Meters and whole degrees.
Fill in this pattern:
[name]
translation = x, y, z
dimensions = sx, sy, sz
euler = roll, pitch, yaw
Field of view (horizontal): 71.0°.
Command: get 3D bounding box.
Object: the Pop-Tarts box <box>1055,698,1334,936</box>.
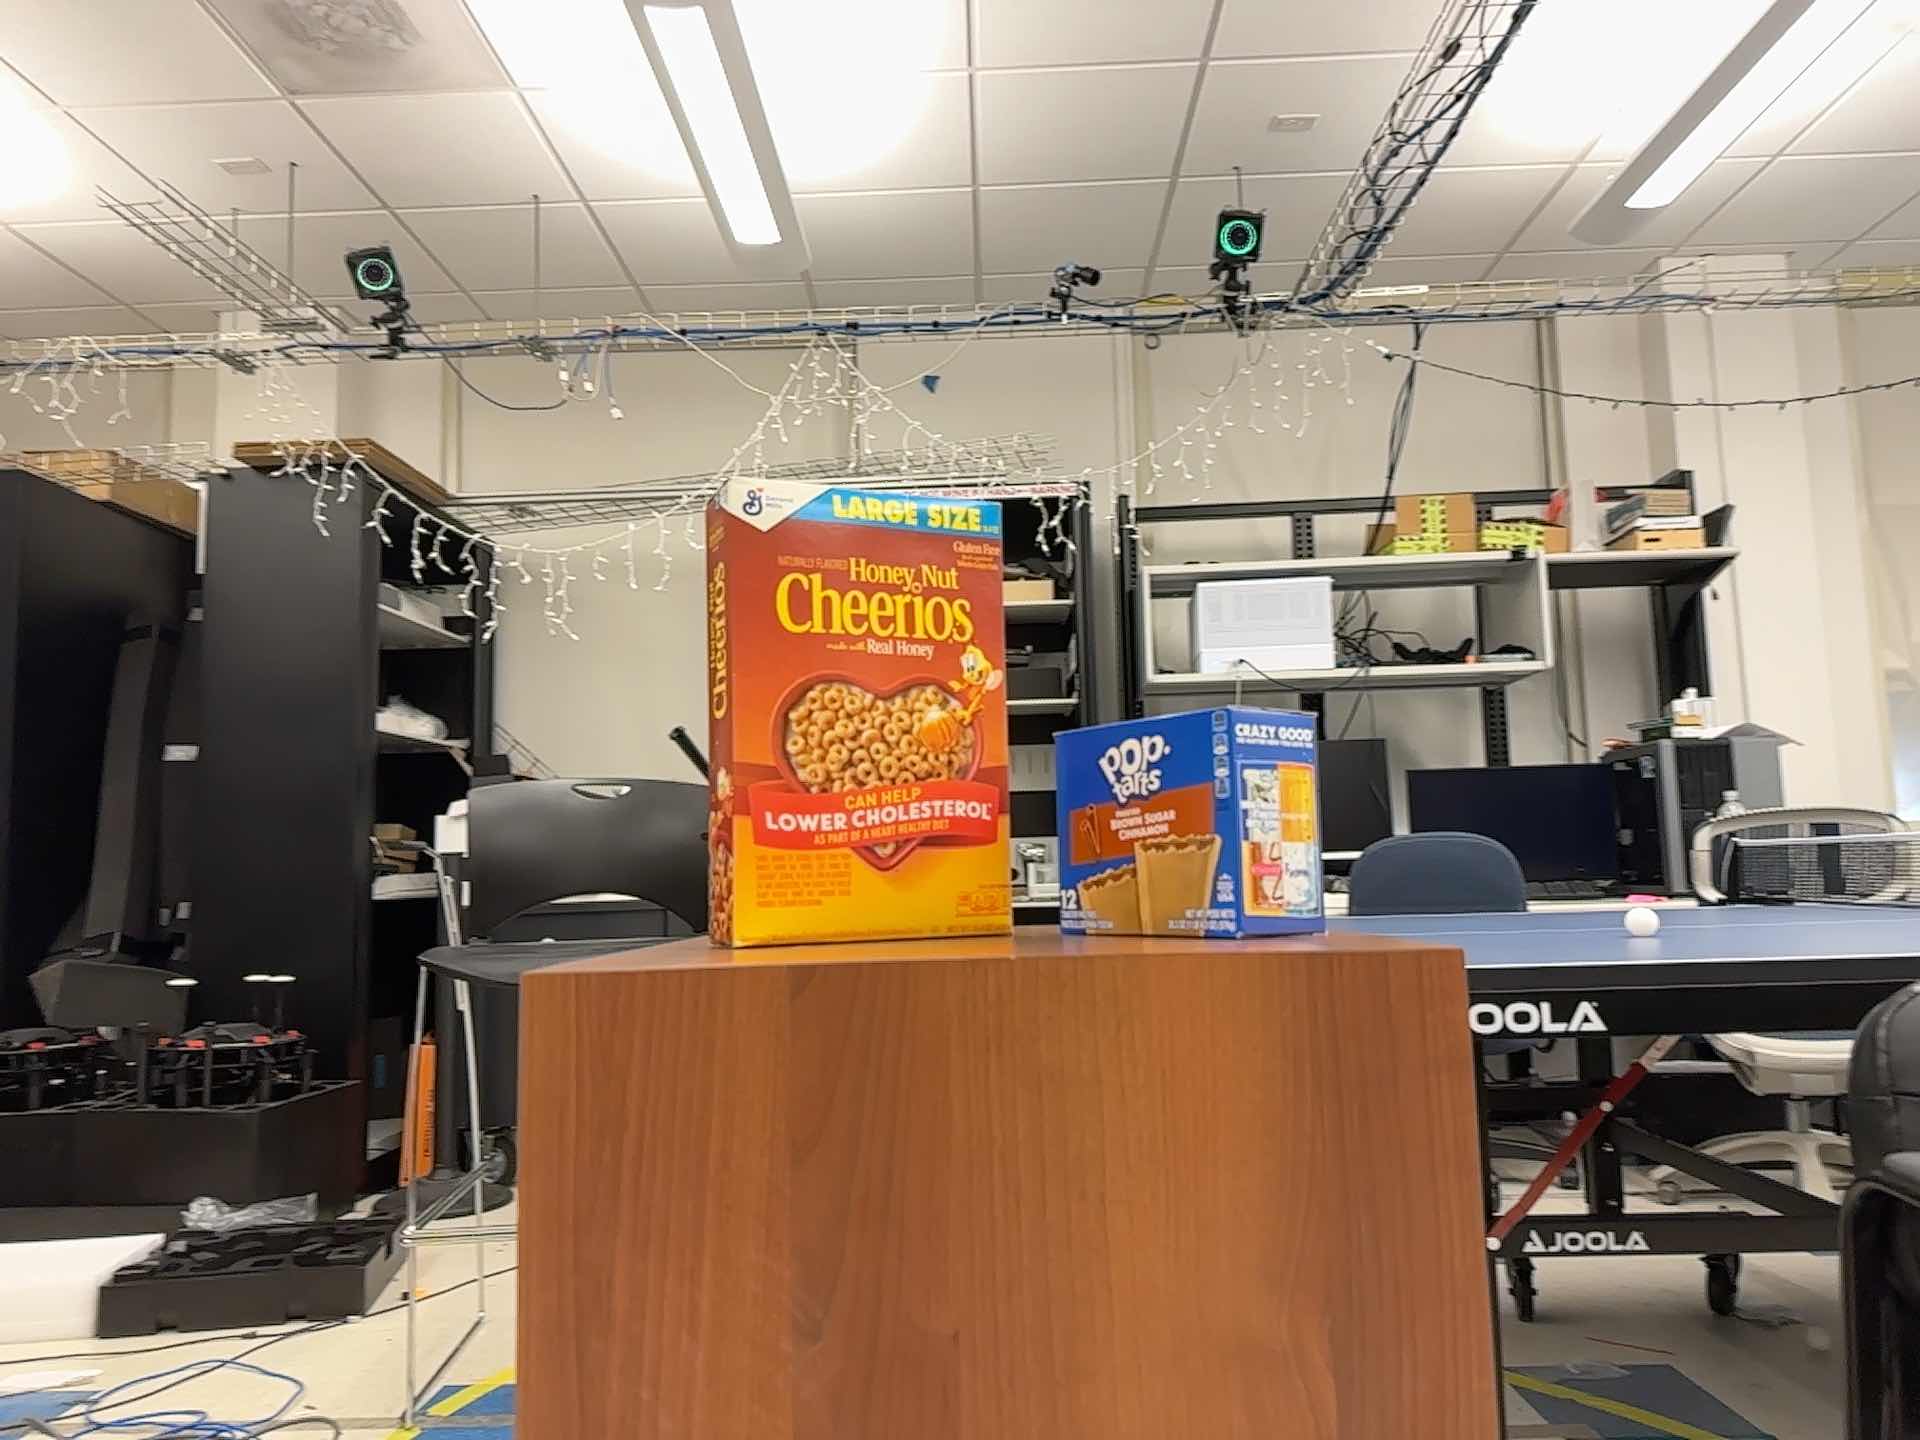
[Pop-Tarts box]
translation = 0.147, 0.068, 0.879
dimensions = 0.075, 0.135, 0.161
euler = 5, -11, -36

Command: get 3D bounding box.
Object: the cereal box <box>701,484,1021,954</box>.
[cereal box]
translation = -0.068, 0.000, 0.921
dimensions = 0.195, 0.297, 0.065
euler = 2, -9, -27
